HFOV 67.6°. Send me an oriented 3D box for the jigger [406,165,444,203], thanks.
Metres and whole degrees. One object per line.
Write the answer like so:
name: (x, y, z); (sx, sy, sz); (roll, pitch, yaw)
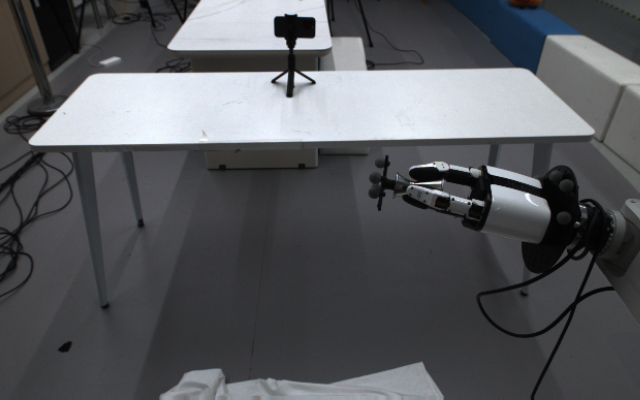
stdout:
jigger: (0.151, -0.023, 0.714); (0.071, 0.043, 0.043); (8, 35, 9)
